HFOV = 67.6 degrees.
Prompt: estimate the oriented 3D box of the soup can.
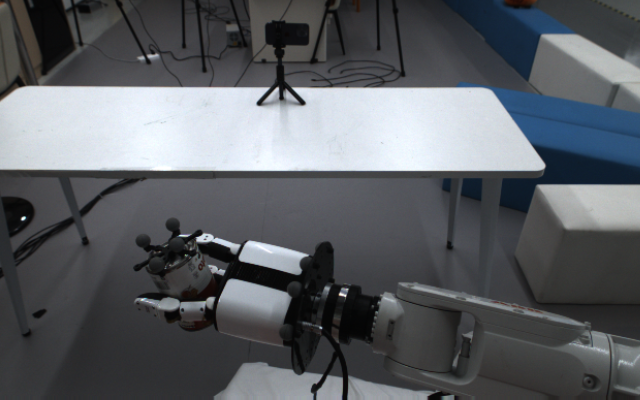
[{"bbox_3d":[-0.165,0.107,0.611,0.067,0.101,0.067,-14,31,8],"label":"soup can"}]
